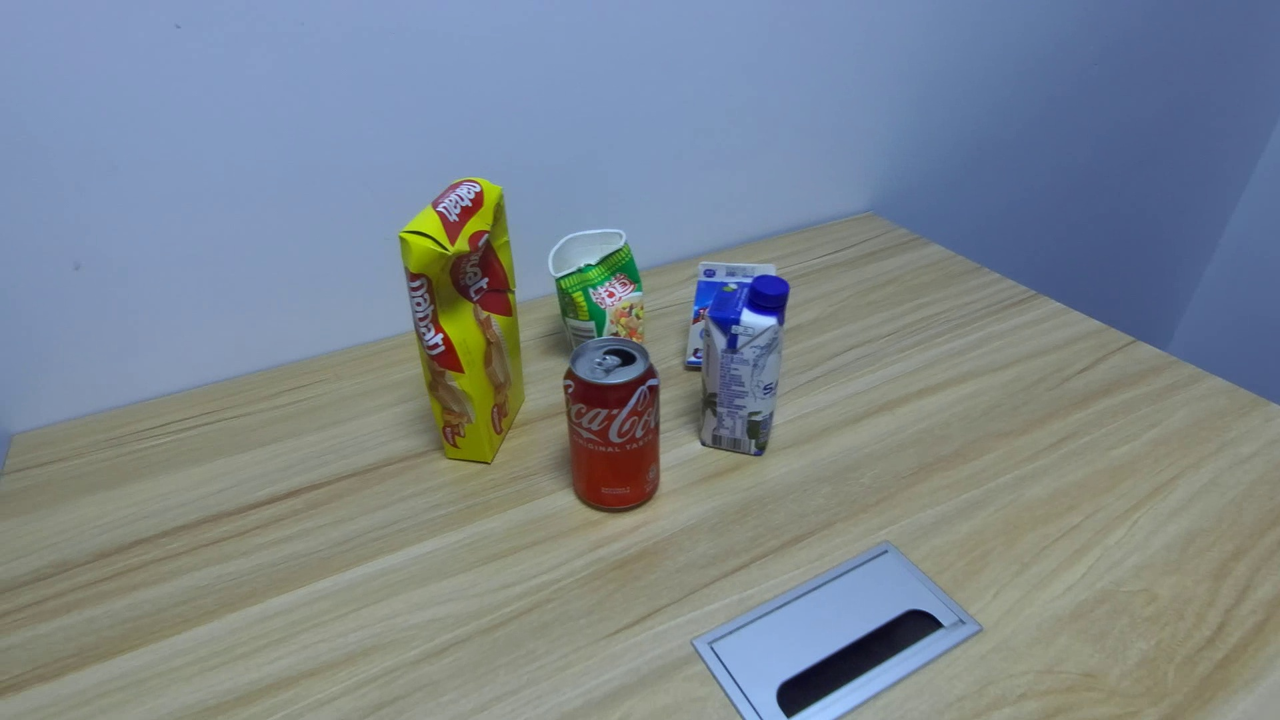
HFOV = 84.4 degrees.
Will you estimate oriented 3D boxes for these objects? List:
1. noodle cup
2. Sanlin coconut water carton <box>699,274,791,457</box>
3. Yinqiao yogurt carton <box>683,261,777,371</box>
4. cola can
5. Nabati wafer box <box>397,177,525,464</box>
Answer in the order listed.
[{"bbox_3d":[-0.035,-0.054,0.661,0.083,0.122,0.075,-21,30,-11],"label":"noodle cup"},{"bbox_3d":[0.080,0.002,0.545,0.060,0.144,0.060,7,37,14],"label":"Sanlin coconut water carton"},{"bbox_3d":[0.085,-0.048,0.664,0.077,0.094,0.071,5,36,5],"label":"Yinqiao yogurt carton"},{"bbox_3d":[-0.018,0.046,0.510,0.068,0.120,0.068,0,34,0],"label":"cola can"},{"bbox_3d":[-0.131,-0.025,0.542,0.042,0.204,0.107,7,35,10],"label":"Nabati wafer box"}]
